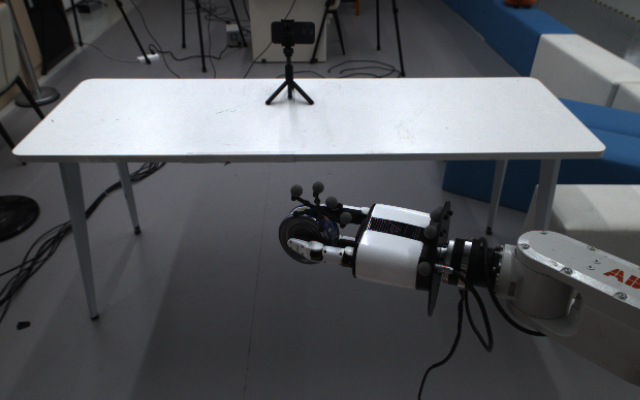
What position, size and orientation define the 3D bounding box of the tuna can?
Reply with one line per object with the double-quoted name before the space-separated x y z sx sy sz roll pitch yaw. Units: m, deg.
"tuna can" -0.016 0.051 0.710 0.085 0.085 0.034 15 31 18
